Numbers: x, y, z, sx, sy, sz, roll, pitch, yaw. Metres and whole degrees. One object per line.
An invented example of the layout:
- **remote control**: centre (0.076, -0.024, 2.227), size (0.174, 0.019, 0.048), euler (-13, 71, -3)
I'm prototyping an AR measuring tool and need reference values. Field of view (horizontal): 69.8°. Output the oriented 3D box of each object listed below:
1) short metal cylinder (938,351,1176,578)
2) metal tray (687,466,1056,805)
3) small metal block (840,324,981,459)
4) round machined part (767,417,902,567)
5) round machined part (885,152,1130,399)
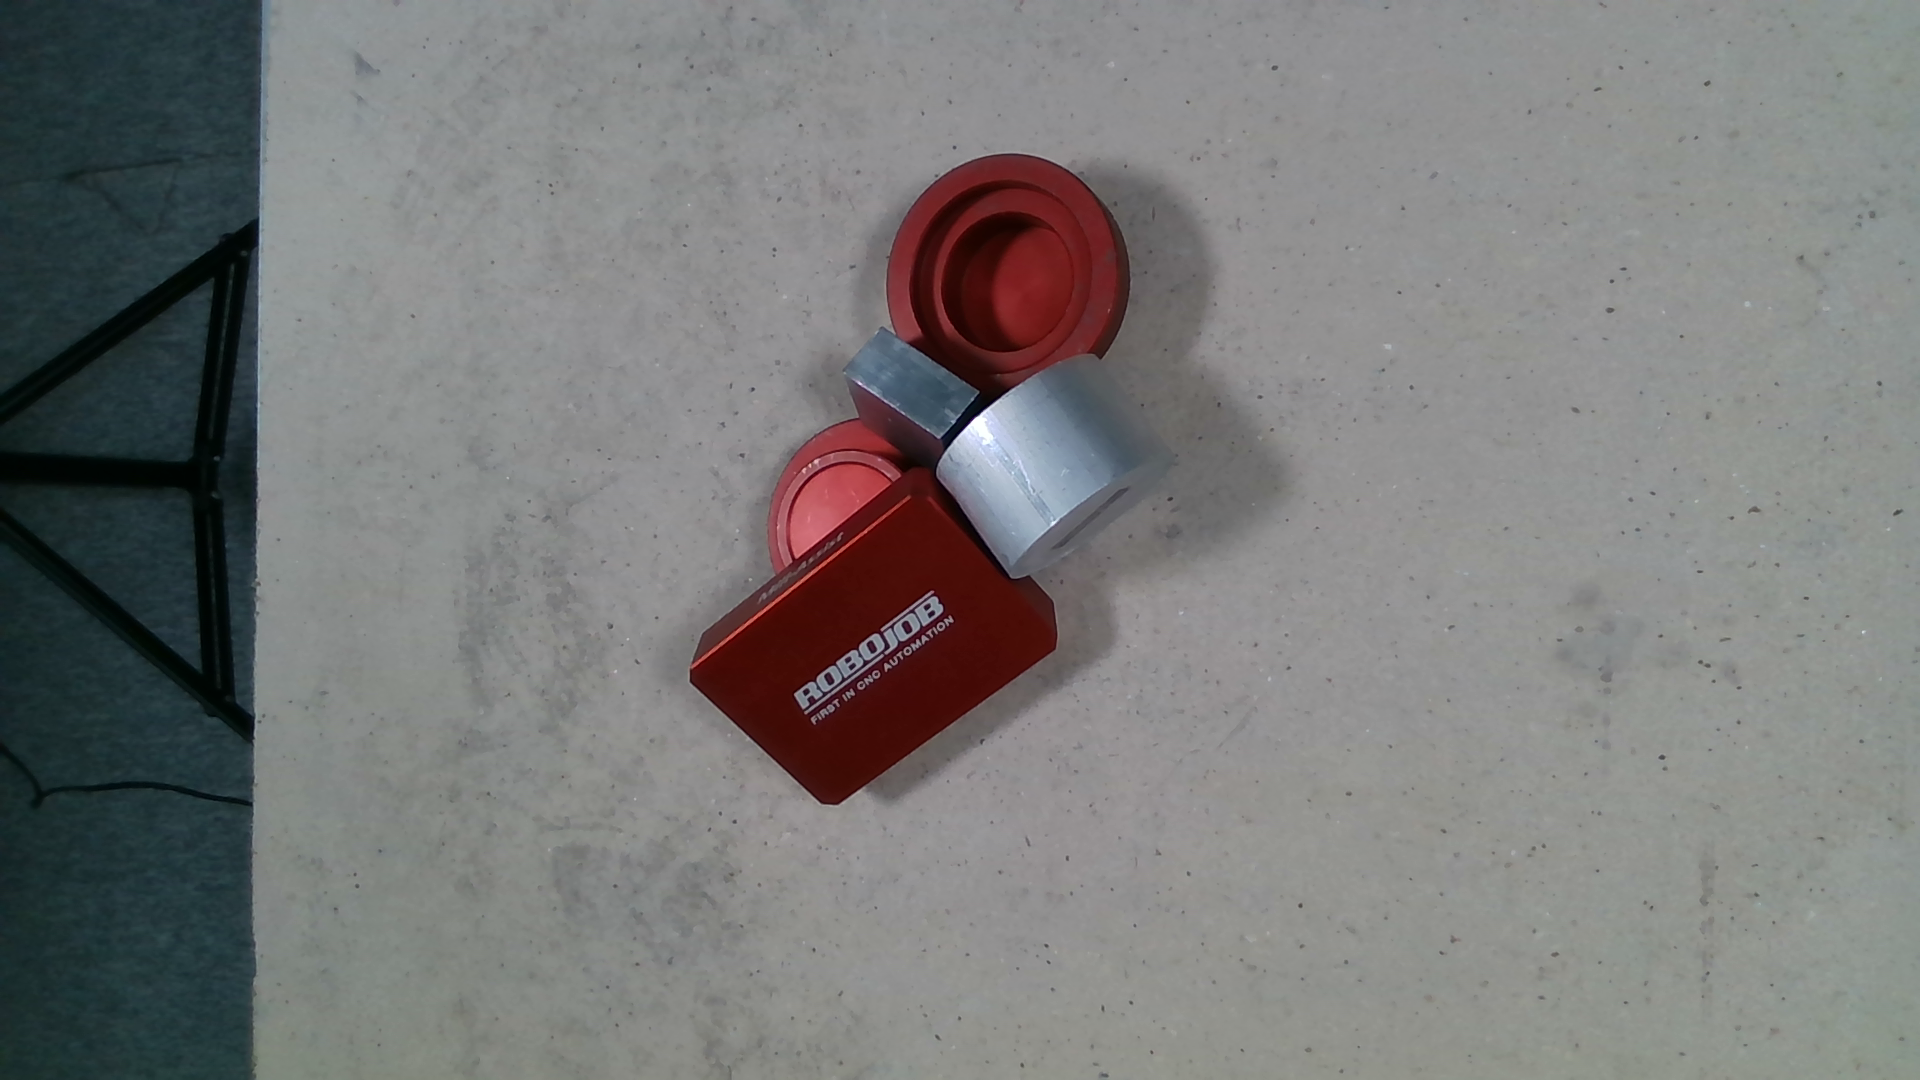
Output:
- **short metal cylinder**: centre (0.038, -0.029, 0.543), size (0.080, 0.080, 0.050), euler (-40, 77, 16)
- **metal tray**: centre (-0.037, 0.042, 0.573), size (0.130, 0.030, 0.090), euler (-37, 110, 17)
- **small metal block**: centre (-0.017, -0.054, 0.559), size (0.050, 0.050, 0.025), euler (35, 77, 16)
- **round machined part**: centre (-0.040, -0.005, 0.591), size (0.098, 0.042, 0.098), euler (0, 91, 20)
- **round machined part**: centre (0.022, -0.105, 0.567), size (0.098, 0.042, 0.098), euler (0, 91, 20)
